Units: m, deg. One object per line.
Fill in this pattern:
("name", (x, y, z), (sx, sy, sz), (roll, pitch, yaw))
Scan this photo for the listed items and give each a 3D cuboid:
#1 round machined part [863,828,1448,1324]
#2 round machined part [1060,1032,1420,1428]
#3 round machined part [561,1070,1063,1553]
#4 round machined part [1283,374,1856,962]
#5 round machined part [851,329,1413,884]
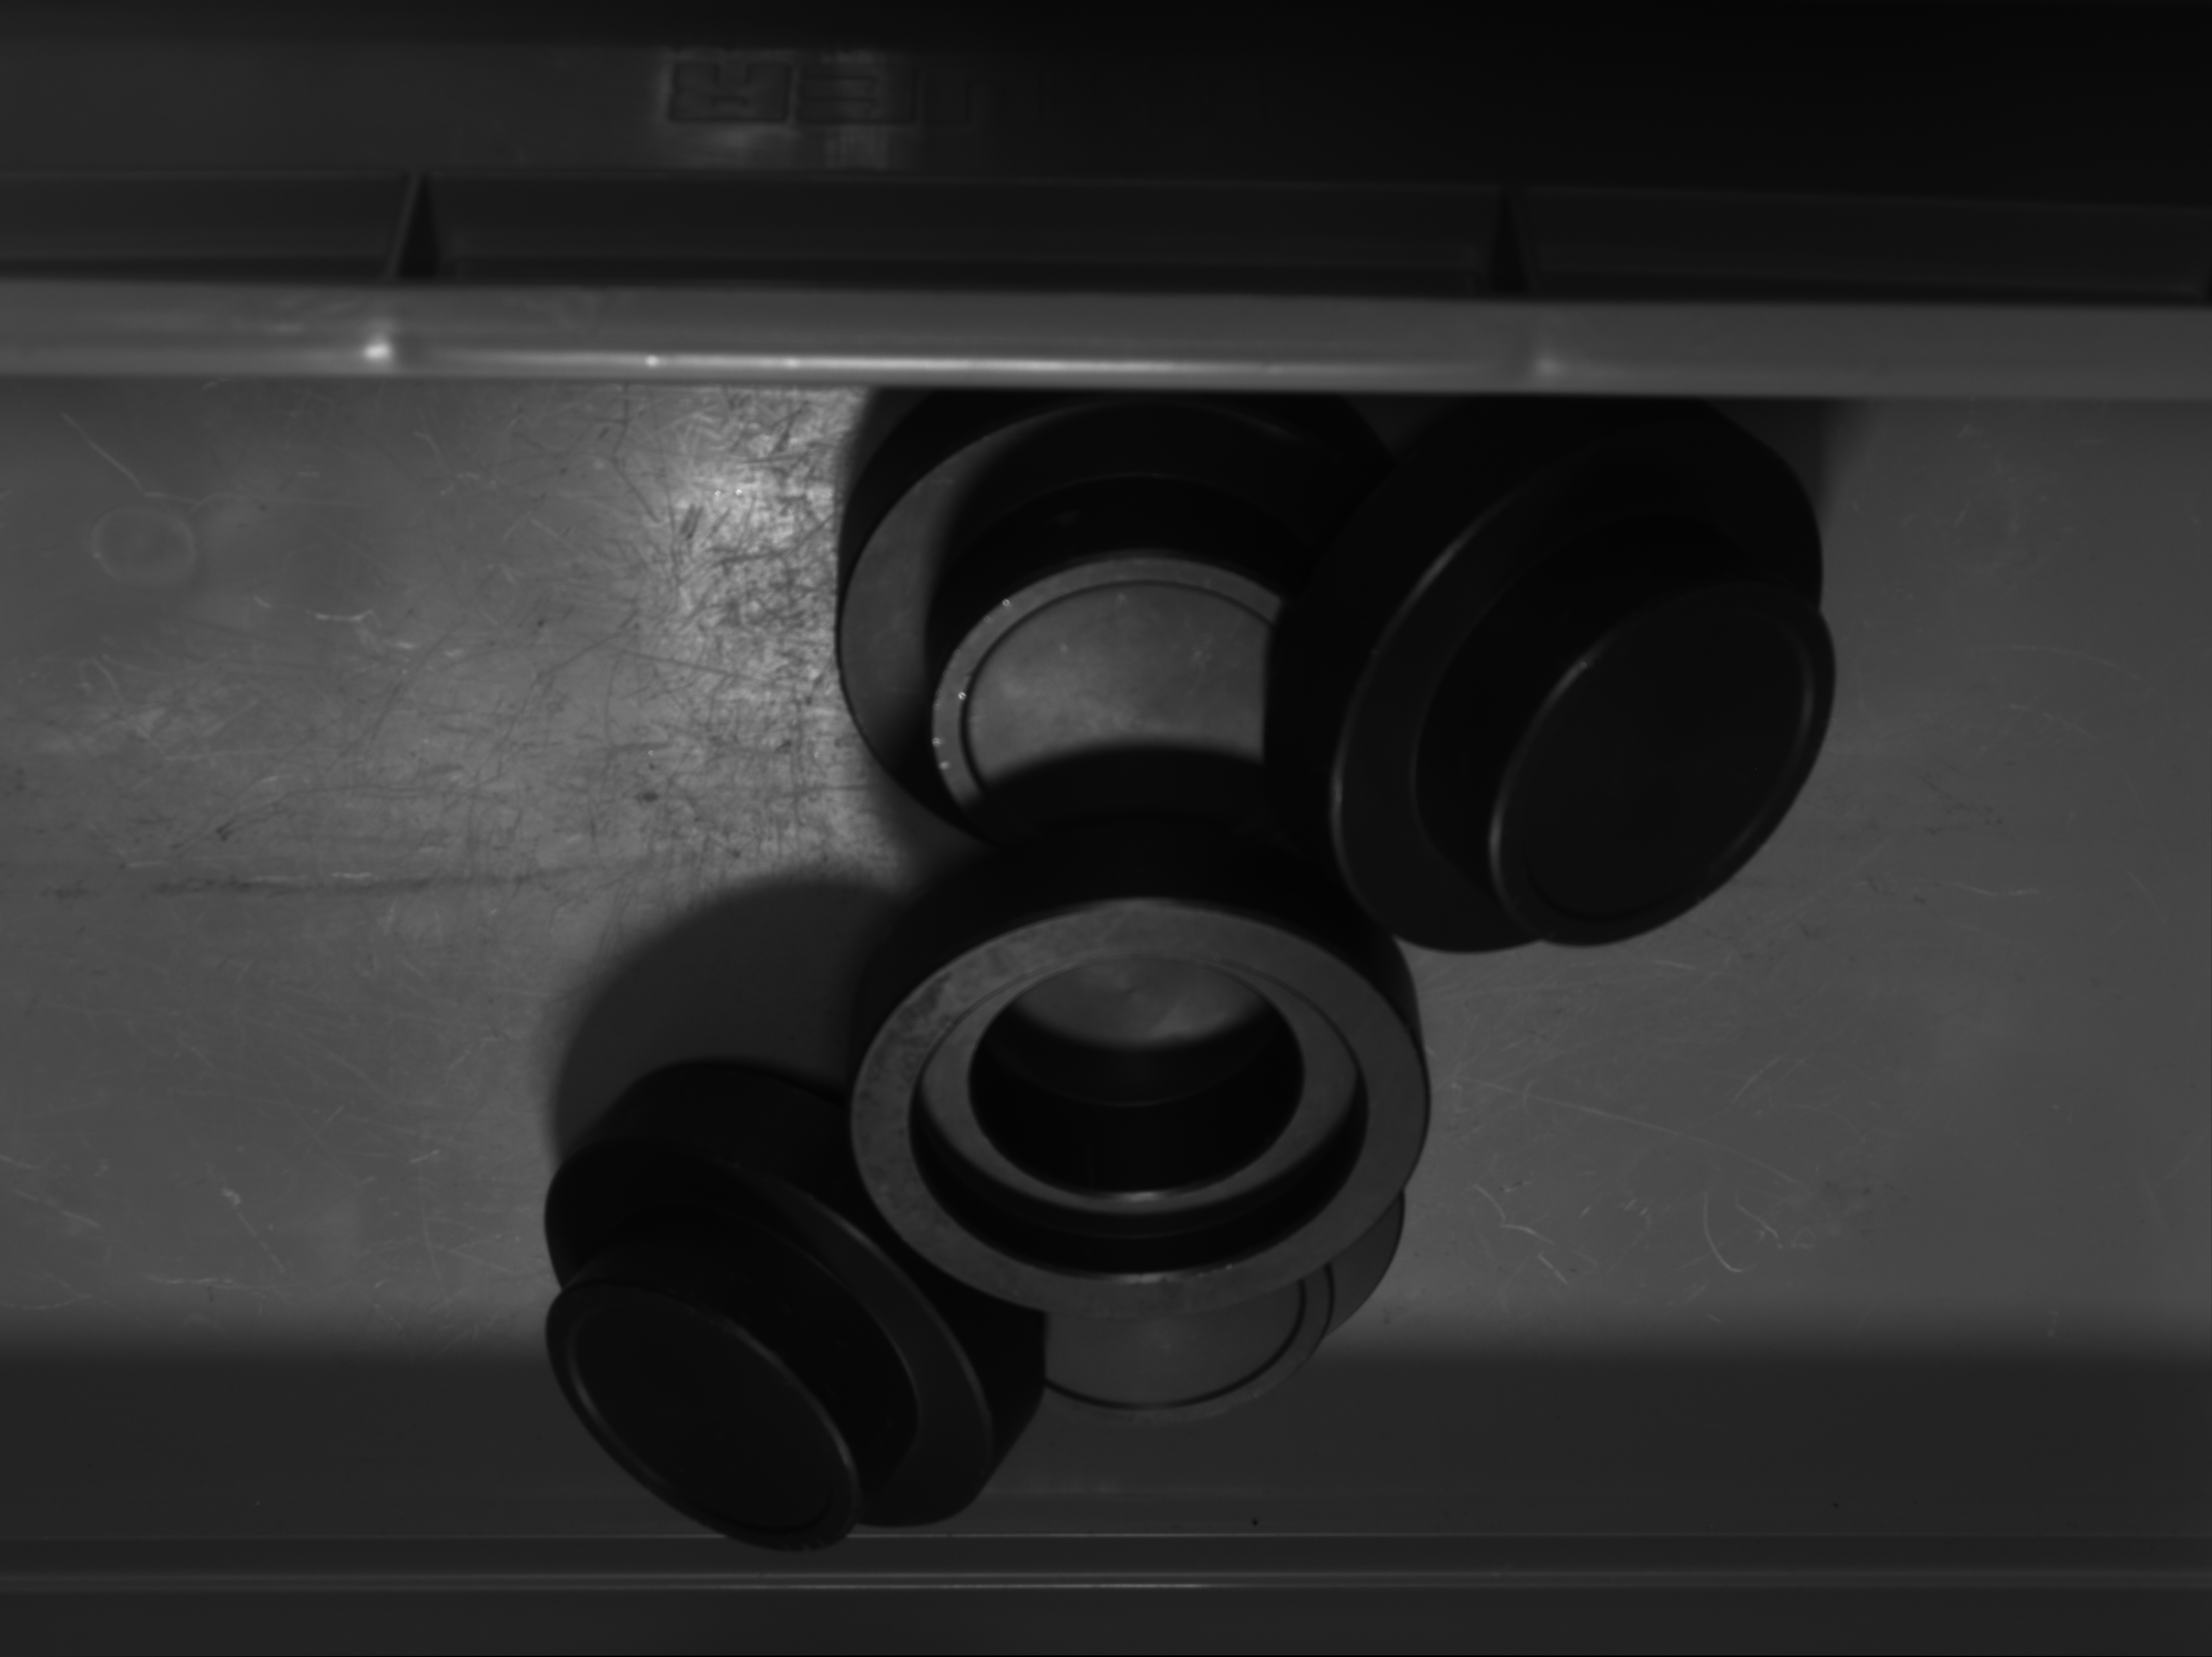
("round machined part", (0.008, 0.037, 0.628), (0.098, 0.042, 0.098), (-1, 130, -1))
("round machined part", (0.011, 0.075, 0.689), (0.098, 0.042, 0.098), (-1, 130, -1))
("round machined part", (-0.060, 0.095, 0.676), (0.098, 0.042, 0.098), (20, 137, 20))
("round machined part", (0.080, -0.019, 0.584), (0.098, 0.042, 0.098), (-21, 132, -25))
("round machined part", (0.007, -0.029, 0.601), (0.098, 0.042, 0.098), (-1, 130, -1))
